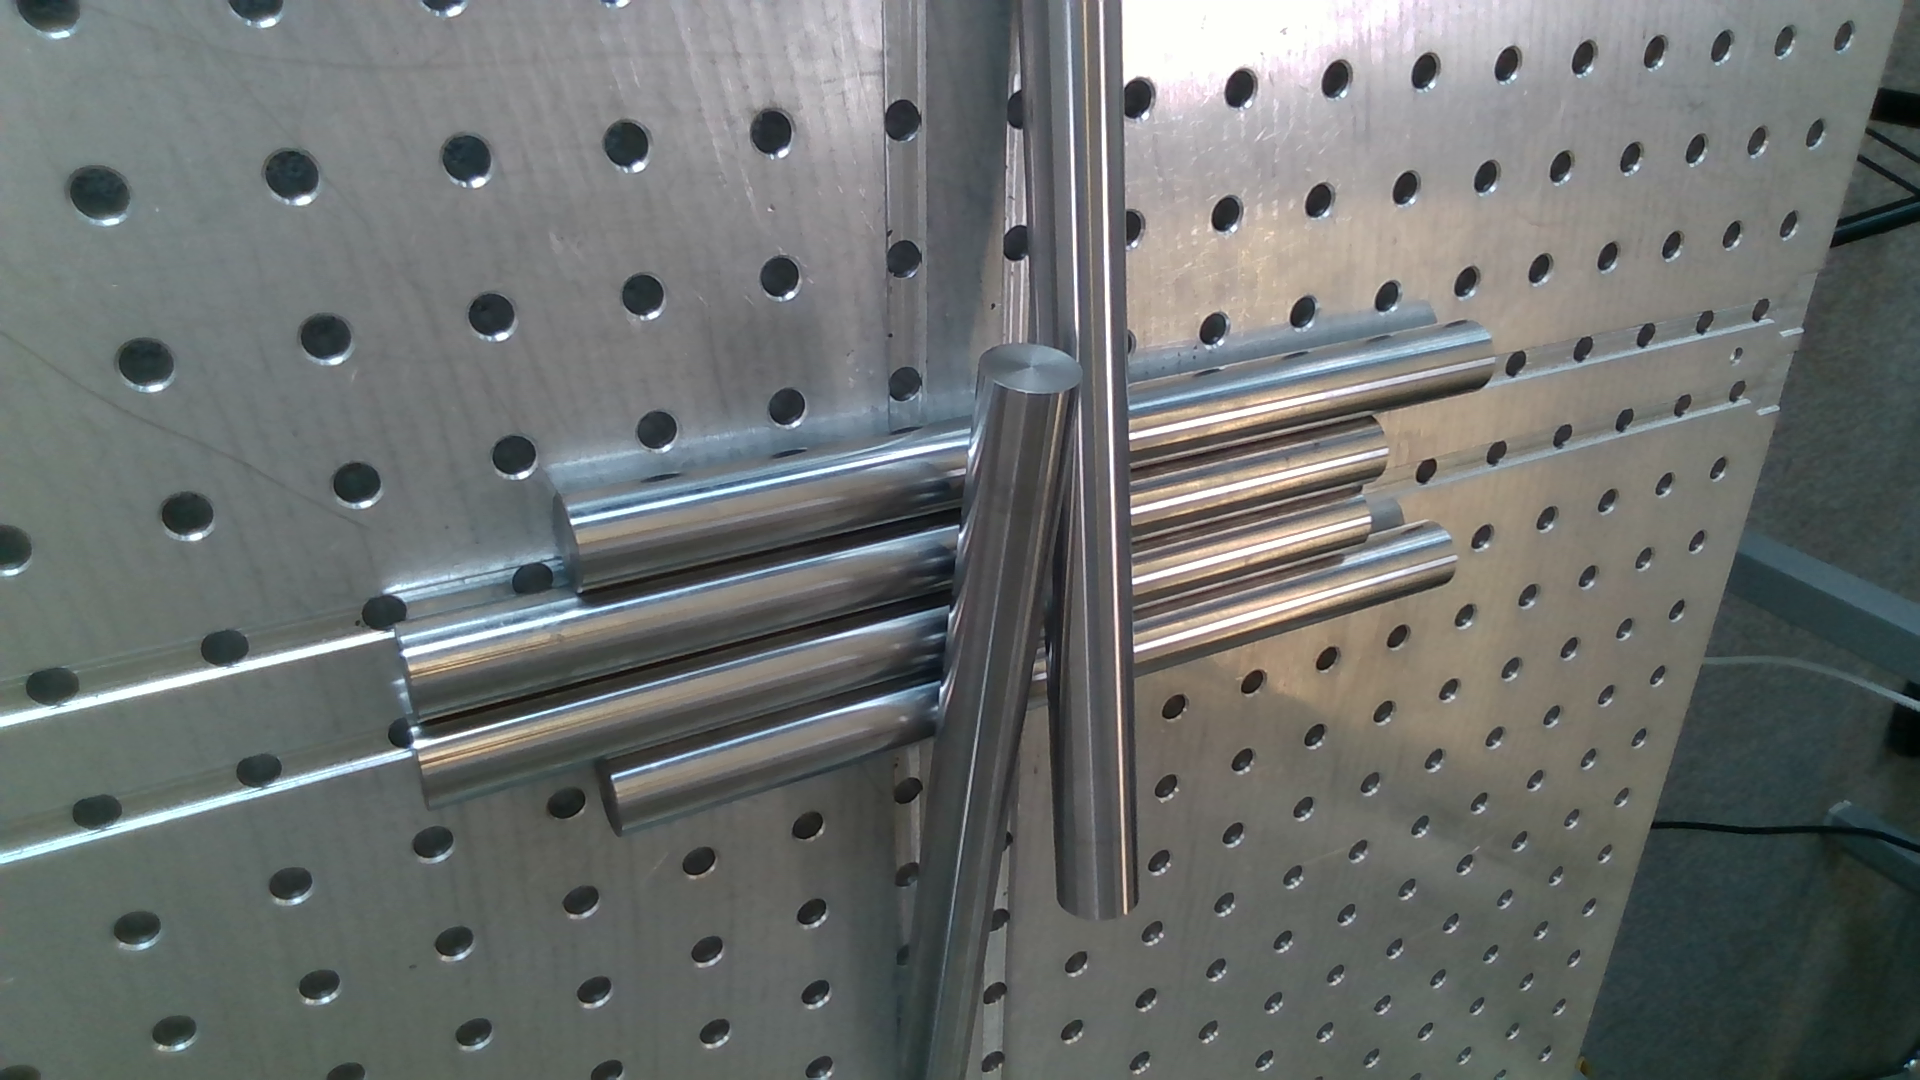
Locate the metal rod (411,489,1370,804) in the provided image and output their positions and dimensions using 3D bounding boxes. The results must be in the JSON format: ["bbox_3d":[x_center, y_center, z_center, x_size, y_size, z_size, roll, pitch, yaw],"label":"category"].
[{"bbox_3d":[-0.001,0.022,0.404,0.300,0.025,0.025,-13,121,-25],"label":"metal rod"}]

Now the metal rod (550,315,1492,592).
[{"bbox_3d":[0.036,-0.031,0.397,0.300,0.025,0.025,-14,121,-25],"label":"metal rod"}]

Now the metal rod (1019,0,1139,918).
[{"bbox_3d":[0.032,-0.035,0.363,0.025,0.025,0.301,-14,112,-25],"label":"metal rod"}]

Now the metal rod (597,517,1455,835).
[{"bbox_3d":[0.038,0.035,0.433,0.300,0.025,0.025,-14,121,-25],"label":"metal rod"}]

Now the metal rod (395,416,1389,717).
[{"bbox_3d":[0.001,-0.001,0.391,0.300,0.025,0.025,-13,121,-26],"label":"metal rod"}]

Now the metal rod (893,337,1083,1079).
[{"bbox_3d":[0.002,0.080,0.410,0.025,0.025,0.301,-13,129,-26],"label":"metal rod"}]
